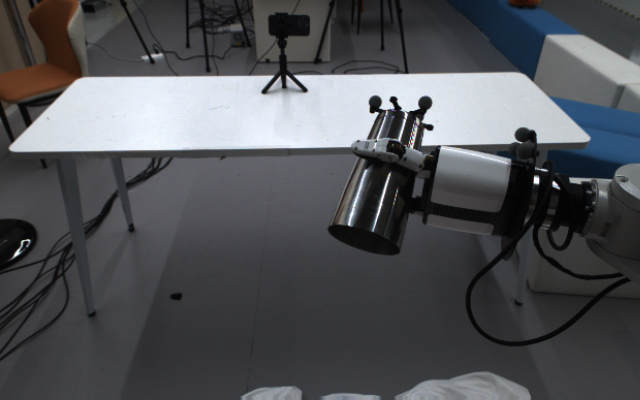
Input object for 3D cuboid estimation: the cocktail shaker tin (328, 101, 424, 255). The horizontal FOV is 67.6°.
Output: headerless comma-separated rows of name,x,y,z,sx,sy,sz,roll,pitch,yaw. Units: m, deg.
cocktail shaker tin,0.079,-0.027,0.613,0.093,0.093,0.170,13,70,16
